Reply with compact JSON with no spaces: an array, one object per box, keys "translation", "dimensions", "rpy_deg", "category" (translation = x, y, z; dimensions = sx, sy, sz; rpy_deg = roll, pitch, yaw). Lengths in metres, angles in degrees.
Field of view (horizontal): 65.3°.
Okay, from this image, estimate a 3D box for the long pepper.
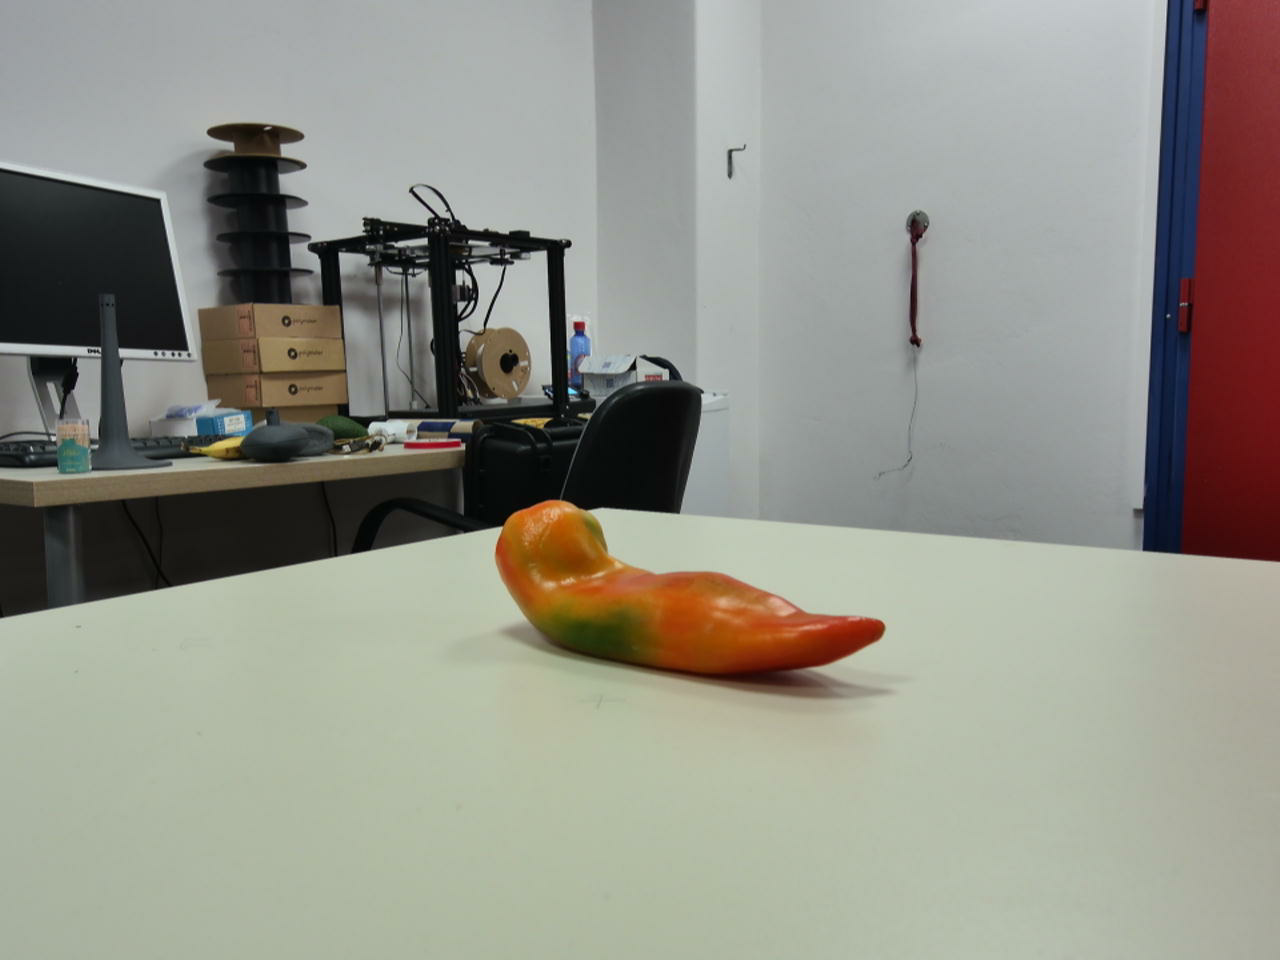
[{"translation":[0.012,0.047,0.443],"dimensions":[0.199,0.065,0.066],"rpy_deg":[4,4,43],"category":"long pepper"}]
